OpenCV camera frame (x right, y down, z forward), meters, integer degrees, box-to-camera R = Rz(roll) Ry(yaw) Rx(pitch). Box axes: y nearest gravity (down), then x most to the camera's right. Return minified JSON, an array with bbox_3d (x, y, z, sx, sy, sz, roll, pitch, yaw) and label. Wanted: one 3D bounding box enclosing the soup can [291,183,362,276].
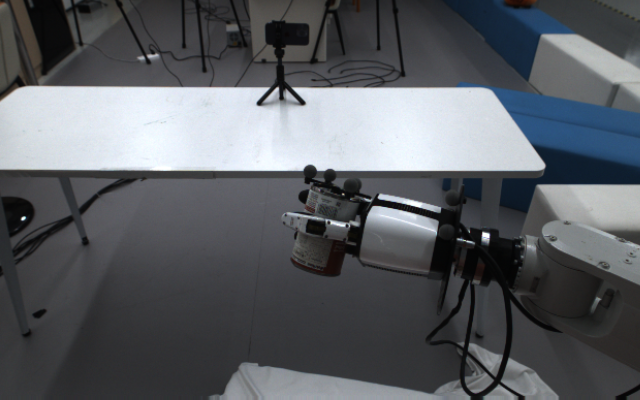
[{"bbox_3d":[0.008,0.039,0.617,0.067,0.101,0.067,15,7,-2],"label":"soup can"}]
